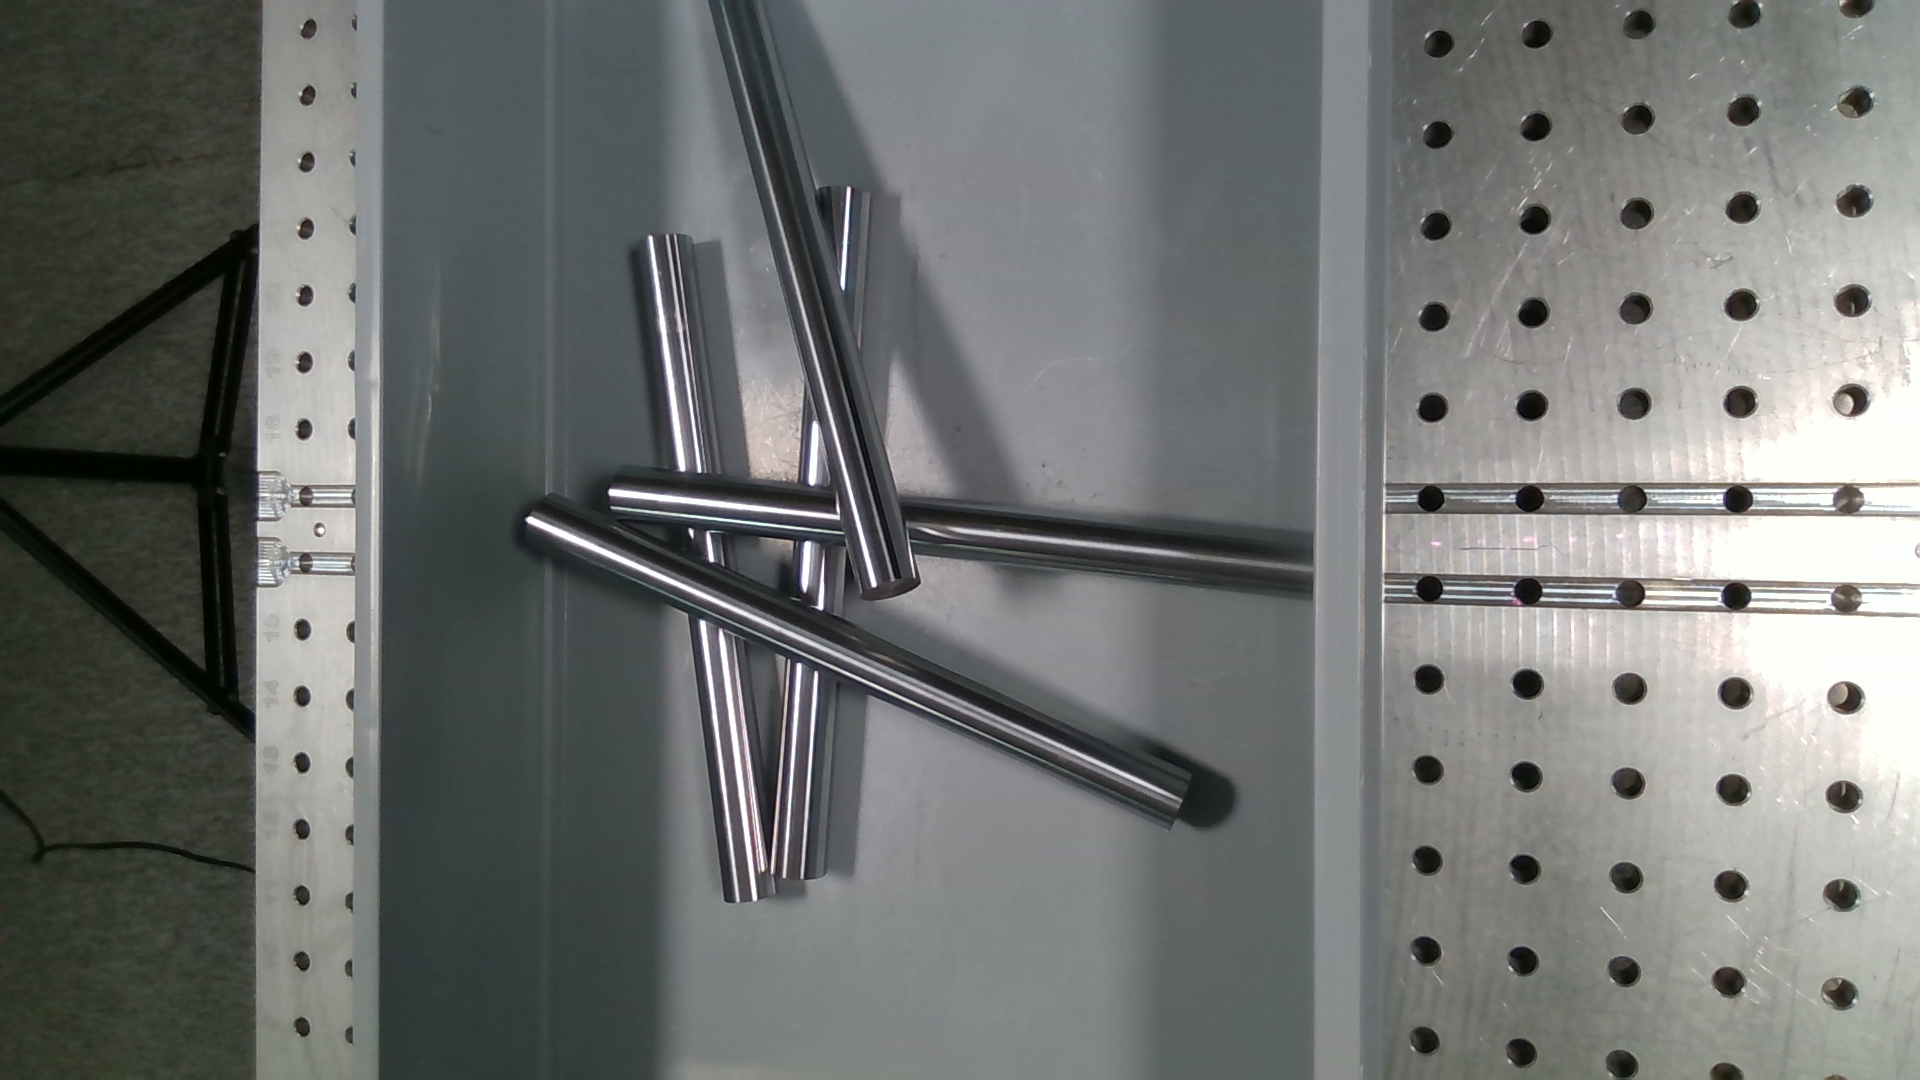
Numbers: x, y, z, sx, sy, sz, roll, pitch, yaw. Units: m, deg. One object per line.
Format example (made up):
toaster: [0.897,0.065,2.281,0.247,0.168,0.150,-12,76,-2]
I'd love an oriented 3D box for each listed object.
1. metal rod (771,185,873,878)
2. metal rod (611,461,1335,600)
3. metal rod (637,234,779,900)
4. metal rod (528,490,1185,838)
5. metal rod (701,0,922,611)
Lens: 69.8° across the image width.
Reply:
metal rod: [-0.061,-0.003,0.607,0.025,0.025,0.300,5,92,20]
metal rod: [-0.002,-0.006,0.567,0.300,0.025,0.025,7,93,14]
metal rod: [-0.115,0.011,0.627,0.025,0.025,0.300,-9,87,20]
metal rod: [-0.049,0.049,0.582,0.300,0.025,0.025,24,99,10]
metal rod: [-0.067,-0.116,0.581,0.025,0.025,0.300,-20,78,19]
